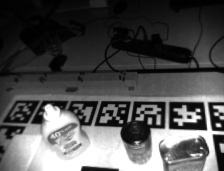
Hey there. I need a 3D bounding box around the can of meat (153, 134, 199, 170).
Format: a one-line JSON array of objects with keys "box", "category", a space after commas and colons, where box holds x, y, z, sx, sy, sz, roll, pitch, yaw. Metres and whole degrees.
[{"box": [0.147, 0.159, 0.515, 0.102, 0.084, 0.057, -9, 46, 3], "category": "can of meat"}]

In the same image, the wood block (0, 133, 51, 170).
[{"box": [-0.246, 0.222, 0.549, 0.090, 0.090, 0.206, 2, 43, 15], "category": "wood block"}]

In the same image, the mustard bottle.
[{"box": [-0.141, 0.114, 0.562, 0.096, 0.193, 0.058, -18, 44, -4], "category": "mustard bottle"}]

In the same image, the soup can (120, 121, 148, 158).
[{"box": [0.054, 0.130, 0.541, 0.067, 0.103, 0.067, -8, 47, 9], "category": "soup can"}]
